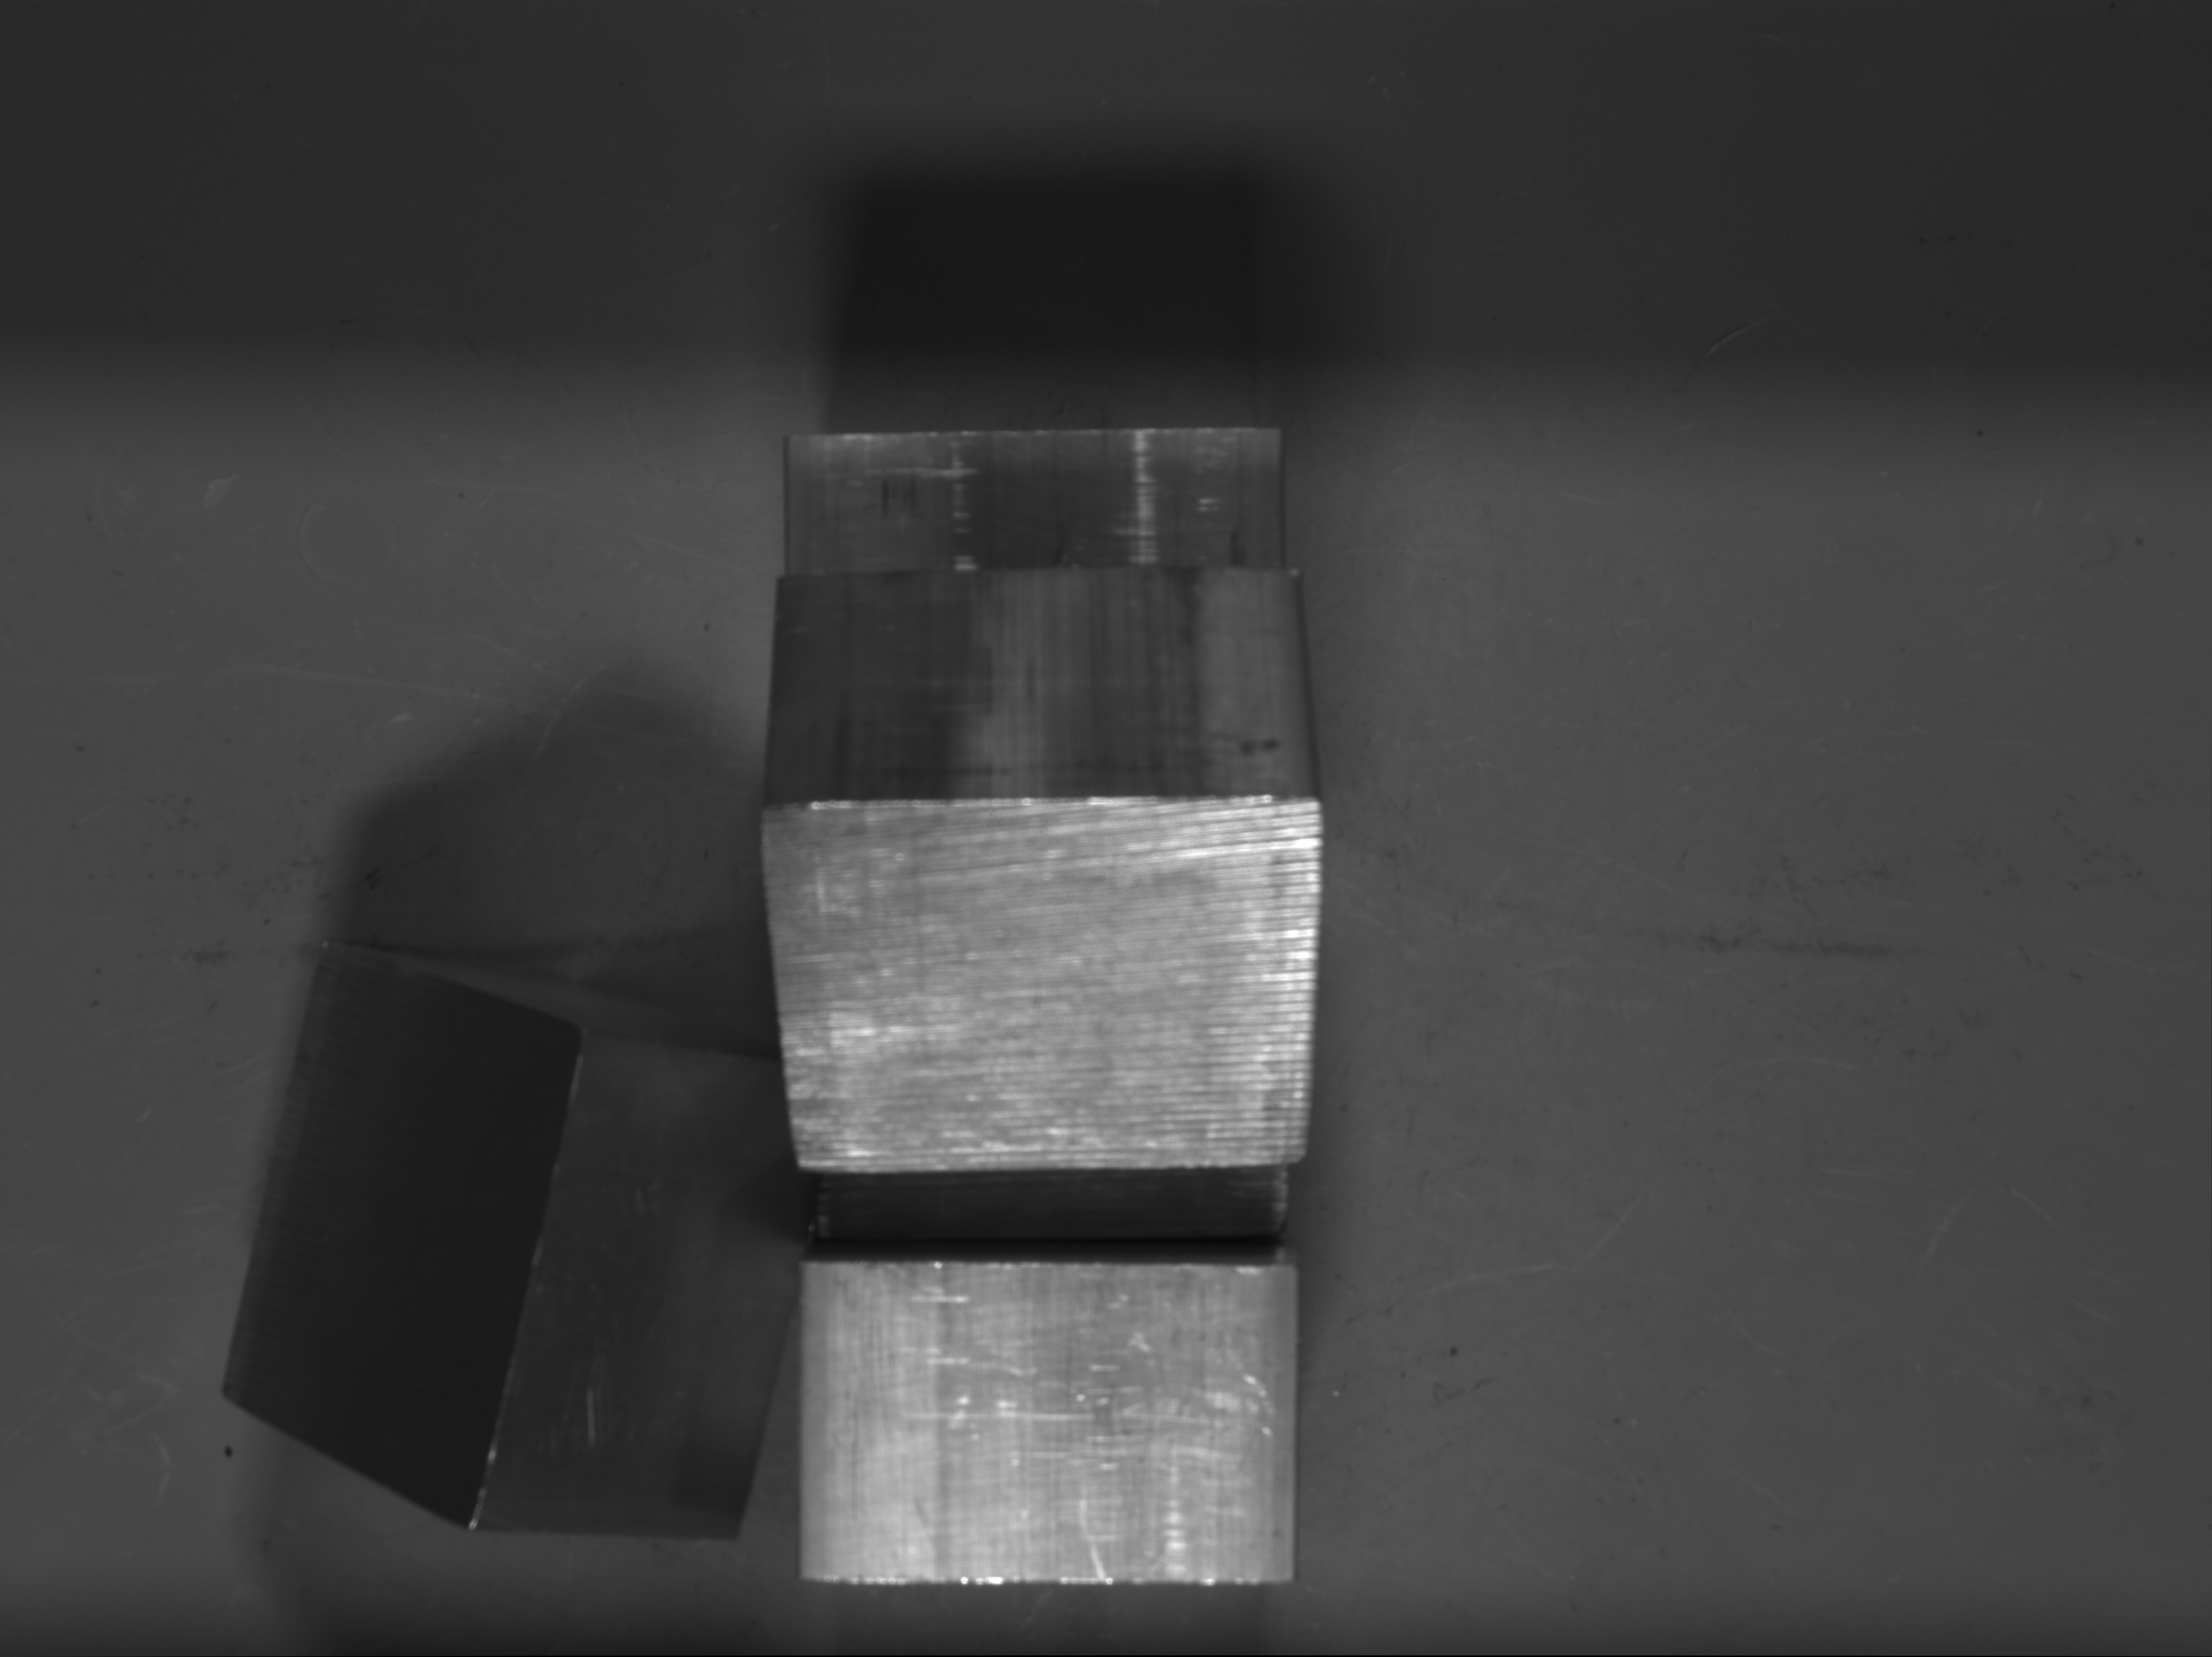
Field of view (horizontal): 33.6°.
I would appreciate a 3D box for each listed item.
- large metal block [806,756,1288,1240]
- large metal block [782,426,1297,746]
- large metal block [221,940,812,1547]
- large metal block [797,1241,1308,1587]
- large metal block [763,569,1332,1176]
[{"bbox_3d":[-0.010,0.028,0.633,0.080,0.050,0.080,-1,90,0],"label":"large metal block"},{"bbox_3d":[-0.010,-0.037,0.616,0.080,0.080,0.050,-1,90,0],"label":"large metal block"},{"bbox_3d":[-0.097,0.068,0.607,0.050,0.080,0.080,12,90,-43],"label":"large metal block"},{"bbox_3d":[-0.009,0.094,0.615,0.080,0.080,0.050,0,90,0],"label":"large metal block"},{"bbox_3d":[-0.008,0.008,0.560,0.080,0.080,0.050,-1,45,0],"label":"large metal block"}]
